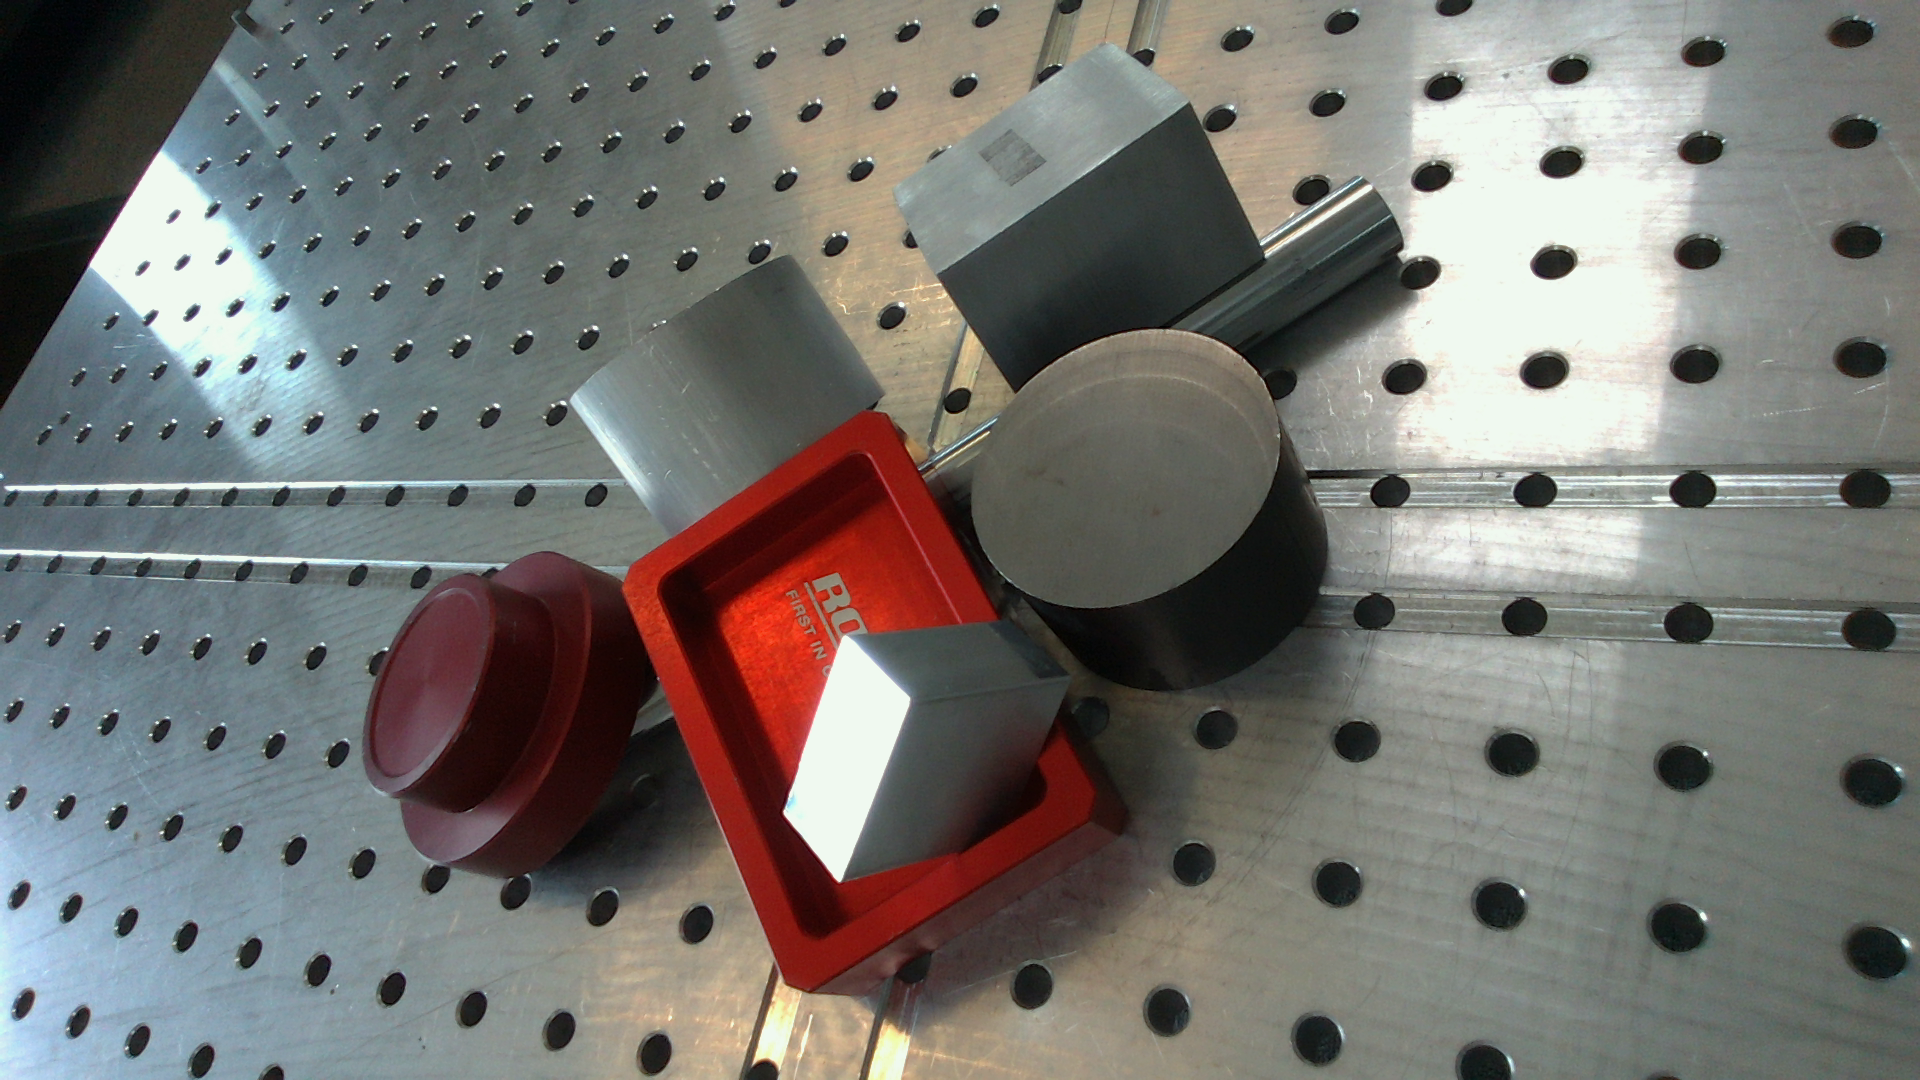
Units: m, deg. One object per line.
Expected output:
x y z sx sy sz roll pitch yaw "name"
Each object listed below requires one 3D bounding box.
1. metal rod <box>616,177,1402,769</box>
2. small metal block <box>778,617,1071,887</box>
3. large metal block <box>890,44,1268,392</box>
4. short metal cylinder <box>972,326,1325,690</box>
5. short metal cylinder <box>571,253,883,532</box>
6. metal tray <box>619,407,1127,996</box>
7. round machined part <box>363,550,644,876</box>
-0.006 -0.010 0.409 0.300 0.025 0.025 -33 51 7 "metal rod"
-0.008 0.048 0.318 0.025 0.050 0.050 40 119 37 "small metal block"
0.032 -0.095 0.407 0.080 0.050 0.080 -32 31 7 "large metal block"
0.050 -0.008 0.358 0.080 0.050 0.080 -13 56 21 "short metal cylinder"
-0.070 -0.043 0.418 0.080 0.050 0.080 -34 7 5 "short metal cylinder"
-0.027 0.040 0.364 0.090 0.030 0.130 -33 64 7 "metal tray"
-0.143 0.048 0.416 0.098 0.042 0.098 -23 53 35 "round machined part"
